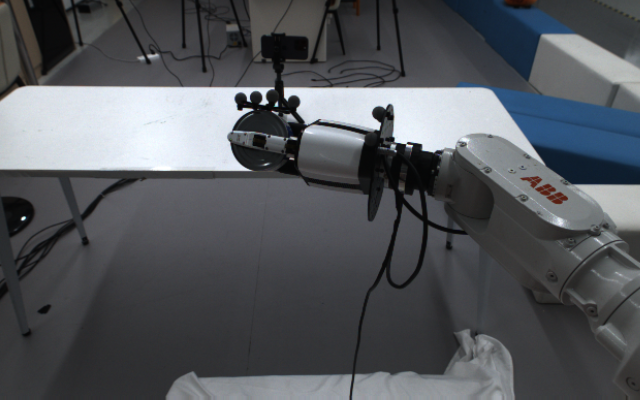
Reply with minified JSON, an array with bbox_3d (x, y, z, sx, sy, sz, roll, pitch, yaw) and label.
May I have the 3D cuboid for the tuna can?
[{"bbox_3d":[-0.080,-0.085,0.684,0.085,0.085,0.034,12,2,14],"label":"tuna can"}]
